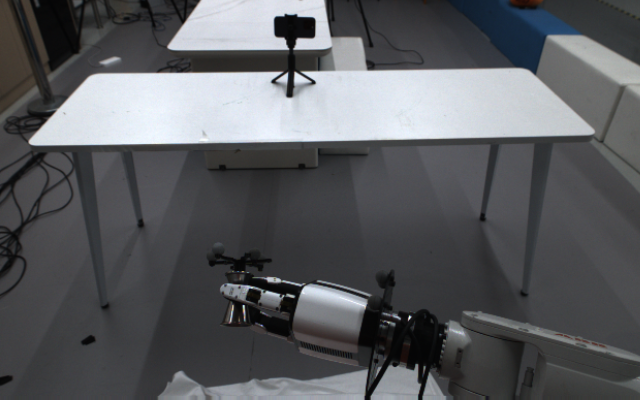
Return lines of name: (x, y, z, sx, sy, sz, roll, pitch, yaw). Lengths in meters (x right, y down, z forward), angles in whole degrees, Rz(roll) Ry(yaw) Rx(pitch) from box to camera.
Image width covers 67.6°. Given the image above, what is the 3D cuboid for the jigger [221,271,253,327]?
jigger: (-0.109, 0.131, 0.645, 0.043, 0.043, 0.071, 1, 70, -2)
